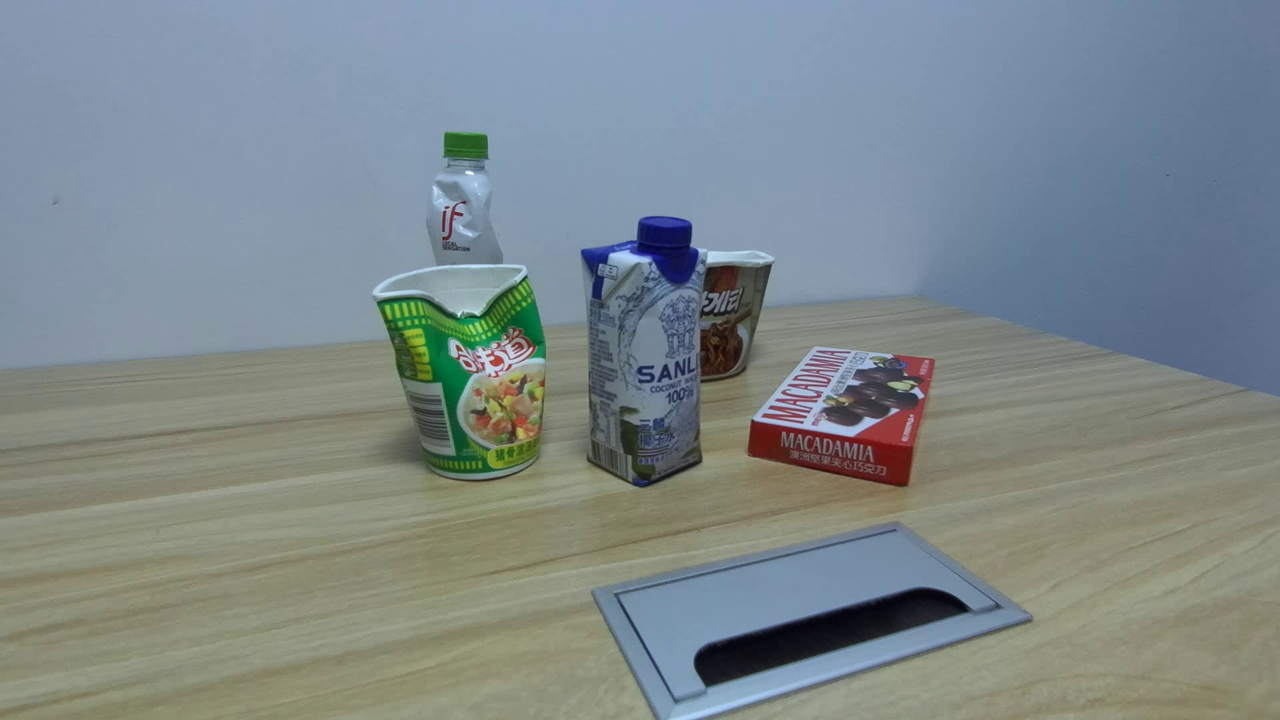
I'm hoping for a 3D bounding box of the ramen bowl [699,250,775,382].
[{"bbox_3d":[0.047,-0.043,0.594,0.134,0.097,0.113,-2,18,-6],"label":"ramen bowl"}]

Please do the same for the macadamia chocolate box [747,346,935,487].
[{"bbox_3d":[0.144,0.029,0.480,0.095,0.027,0.178,8,19,25],"label":"macadamia chocolate box"}]

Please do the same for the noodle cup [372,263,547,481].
[{"bbox_3d":[-0.096,0.004,0.415,0.083,0.122,0.075,-13,14,-12],"label":"noodle cup"}]

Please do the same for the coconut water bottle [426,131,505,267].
[{"bbox_3d":[-0.127,-0.071,0.527,0.067,0.187,0.067,2,15,0],"label":"coconut water bottle"}]

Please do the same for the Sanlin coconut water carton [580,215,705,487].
[{"bbox_3d":[0.003,-0.007,0.399,0.061,0.144,0.060,-16,22,-42],"label":"Sanlin coconut water carton"}]
